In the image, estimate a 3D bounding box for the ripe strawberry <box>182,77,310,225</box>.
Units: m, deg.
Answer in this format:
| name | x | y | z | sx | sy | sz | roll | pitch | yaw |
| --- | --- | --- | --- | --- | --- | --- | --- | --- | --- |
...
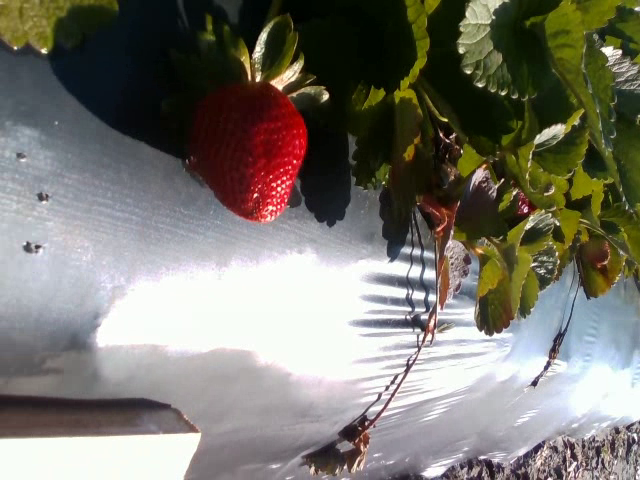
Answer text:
| name | x | y | z | sx | sy | sz | roll | pitch | yaw |
| --- | --- | --- | --- | --- | --- | --- | --- | --- | --- |
| ripe strawberry | -0.022 | -0.023 | 0.174 | 0.043 | 0.050 | 0.043 | -9 | -45 | 5 |
